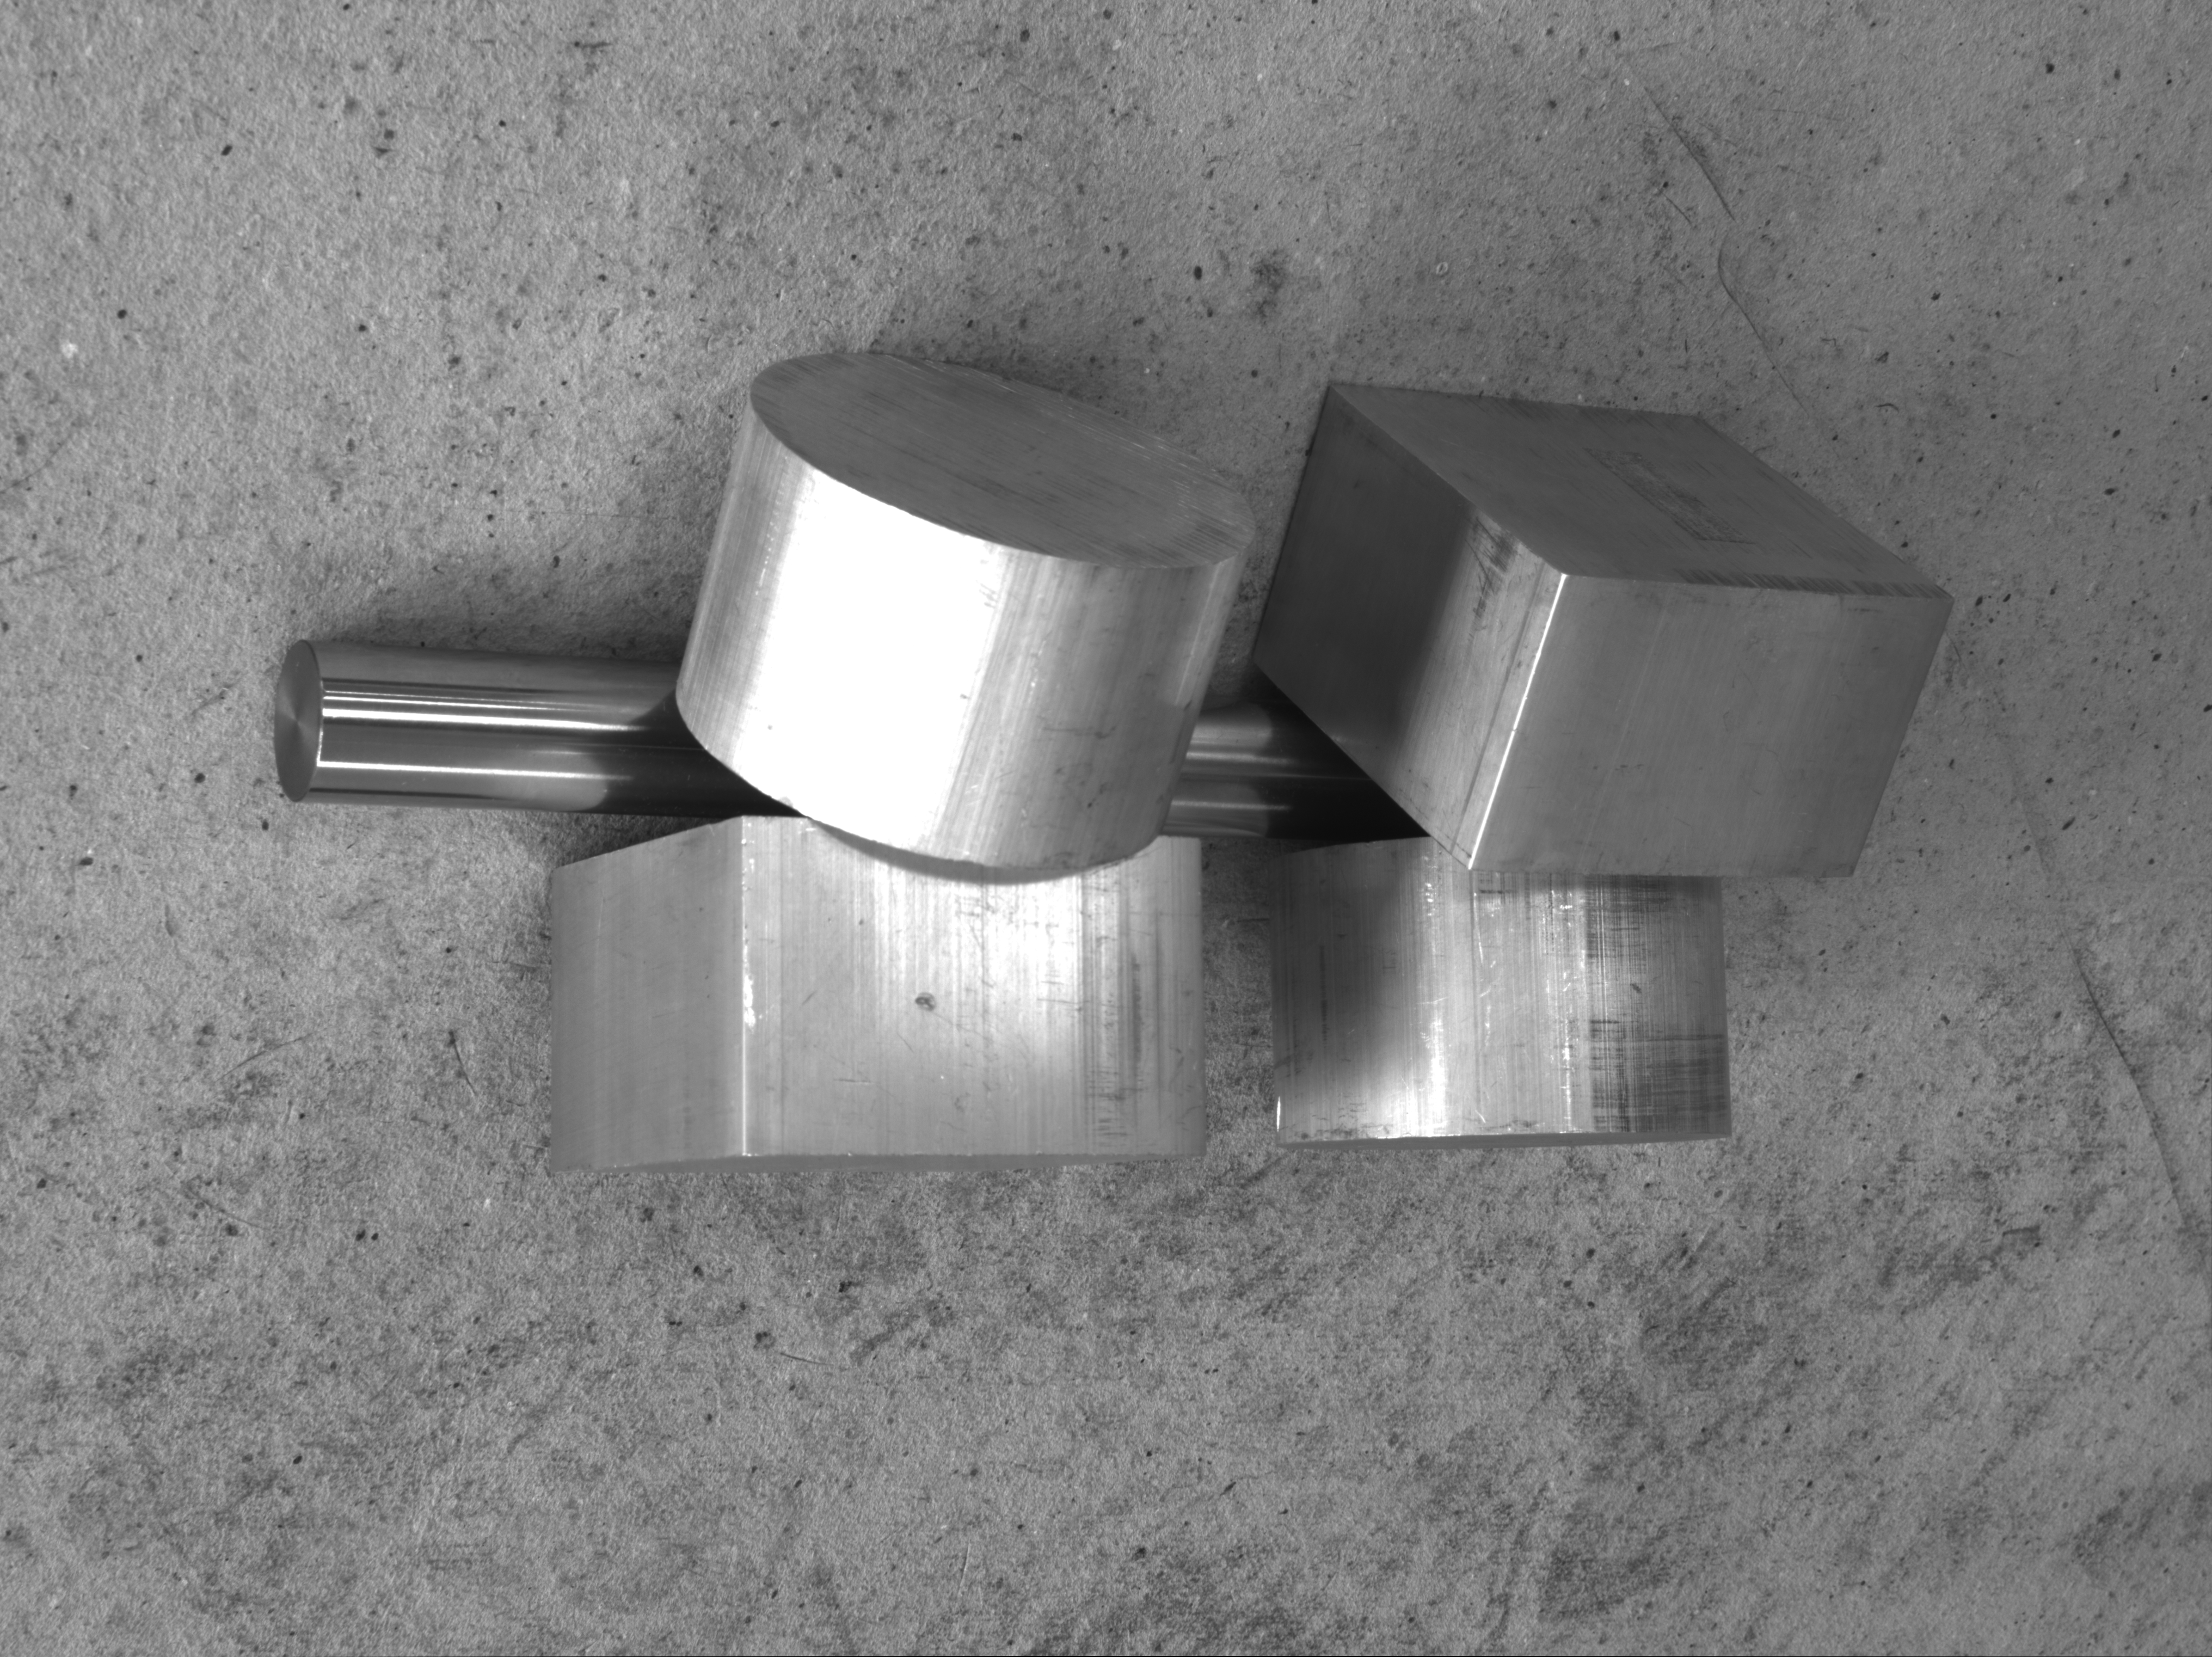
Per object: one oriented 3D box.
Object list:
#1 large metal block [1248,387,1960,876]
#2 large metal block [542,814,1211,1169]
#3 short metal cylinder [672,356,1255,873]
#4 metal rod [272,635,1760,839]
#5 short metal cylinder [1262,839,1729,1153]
[{"bbox_3d":[0.083,-0.034,0.626,0.080,0.080,0.050,1,118,-29],"label":"large metal block"},{"bbox_3d":[-0.039,0.028,0.591,0.080,0.080,0.050,2,83,-30],"label":"large metal block"},{"bbox_3d":[-0.022,-0.034,0.569,0.080,0.080,0.050,3,117,-30],"label":"short metal cylinder"},{"bbox_3d":[0.007,-0.012,0.637,0.301,0.025,0.025,2,117,-29],"label":"metal rod"},{"bbox_3d":[0.069,0.031,0.650,0.080,0.080,0.050,2,82,-29],"label":"short metal cylinder"}]
